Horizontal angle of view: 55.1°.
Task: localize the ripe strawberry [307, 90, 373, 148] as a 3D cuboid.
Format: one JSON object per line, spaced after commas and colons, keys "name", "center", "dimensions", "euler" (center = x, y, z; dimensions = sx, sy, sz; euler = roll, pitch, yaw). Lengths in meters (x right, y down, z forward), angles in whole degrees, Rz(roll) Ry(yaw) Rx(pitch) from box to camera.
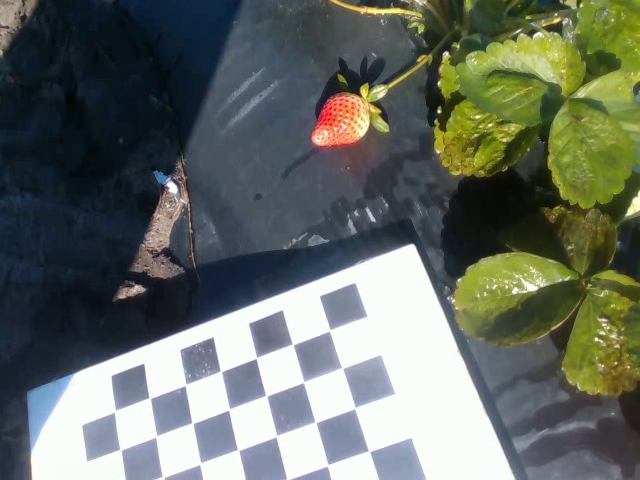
{"name": "ripe strawberry", "center": [0.014, -0.078, 0.408], "dimensions": [0.053, 0.039, 0.041], "euler": [-33, -29, -19]}
